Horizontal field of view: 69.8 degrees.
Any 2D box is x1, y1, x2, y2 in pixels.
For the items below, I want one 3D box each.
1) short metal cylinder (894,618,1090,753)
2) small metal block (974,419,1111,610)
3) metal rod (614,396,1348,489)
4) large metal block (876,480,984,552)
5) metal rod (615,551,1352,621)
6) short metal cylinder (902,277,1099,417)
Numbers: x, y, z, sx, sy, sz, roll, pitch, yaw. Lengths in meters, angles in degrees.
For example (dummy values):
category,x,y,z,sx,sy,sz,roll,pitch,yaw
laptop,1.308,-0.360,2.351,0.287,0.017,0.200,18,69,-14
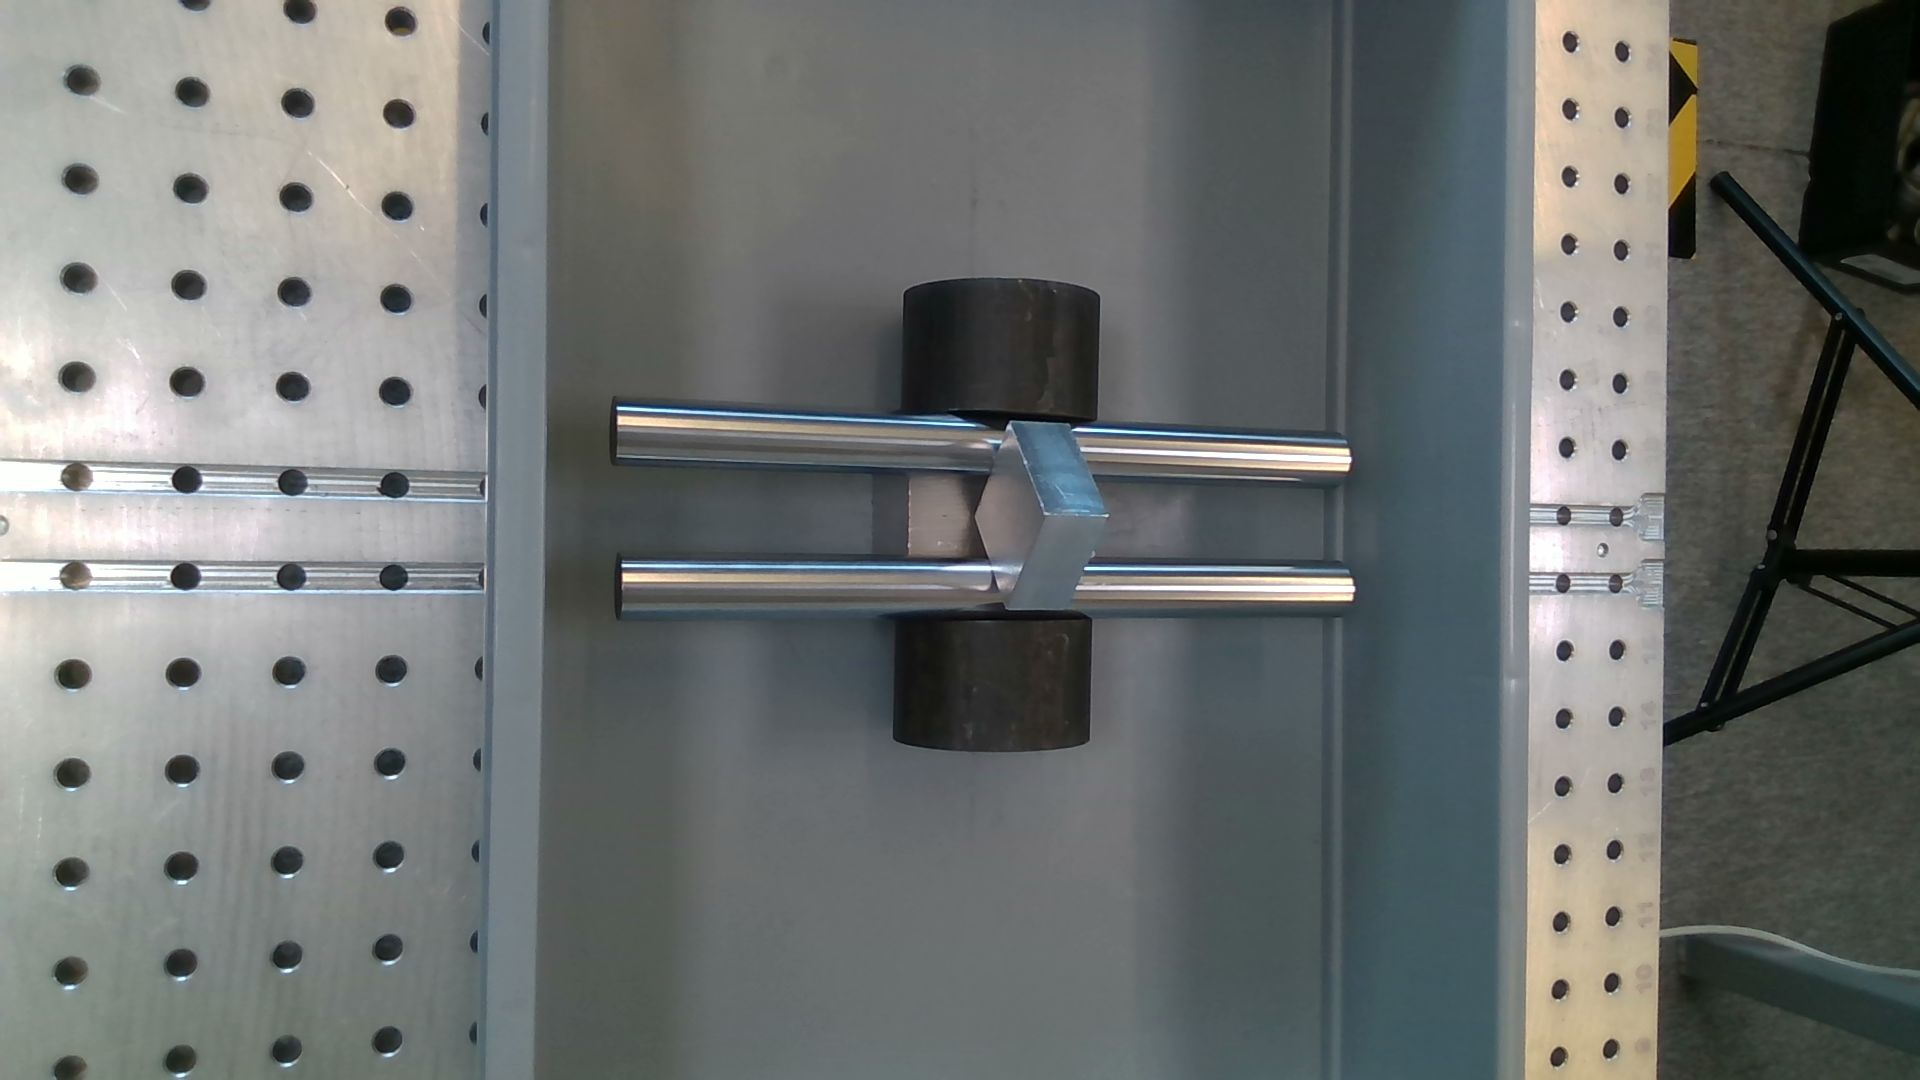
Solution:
category,x,y,z,sx,sy,sz,roll,pitch,yaw
short metal cylinder,0.013,0.056,0.560,0.080,0.080,0.050,1,89,-20
small metal block,0.030,-0.009,0.516,0.025,0.050,0.050,1,46,-20
metal rod,0.018,-0.037,0.539,0.300,0.025,0.025,1,90,-20
large metal block,0.009,-0.010,0.575,0.080,0.050,0.080,1,90,-20
metal rod,0.020,0.019,0.540,0.300,0.025,0.025,1,90,-20
short metal cylinder,0.016,-0.075,0.562,0.080,0.080,0.050,1,90,-20
